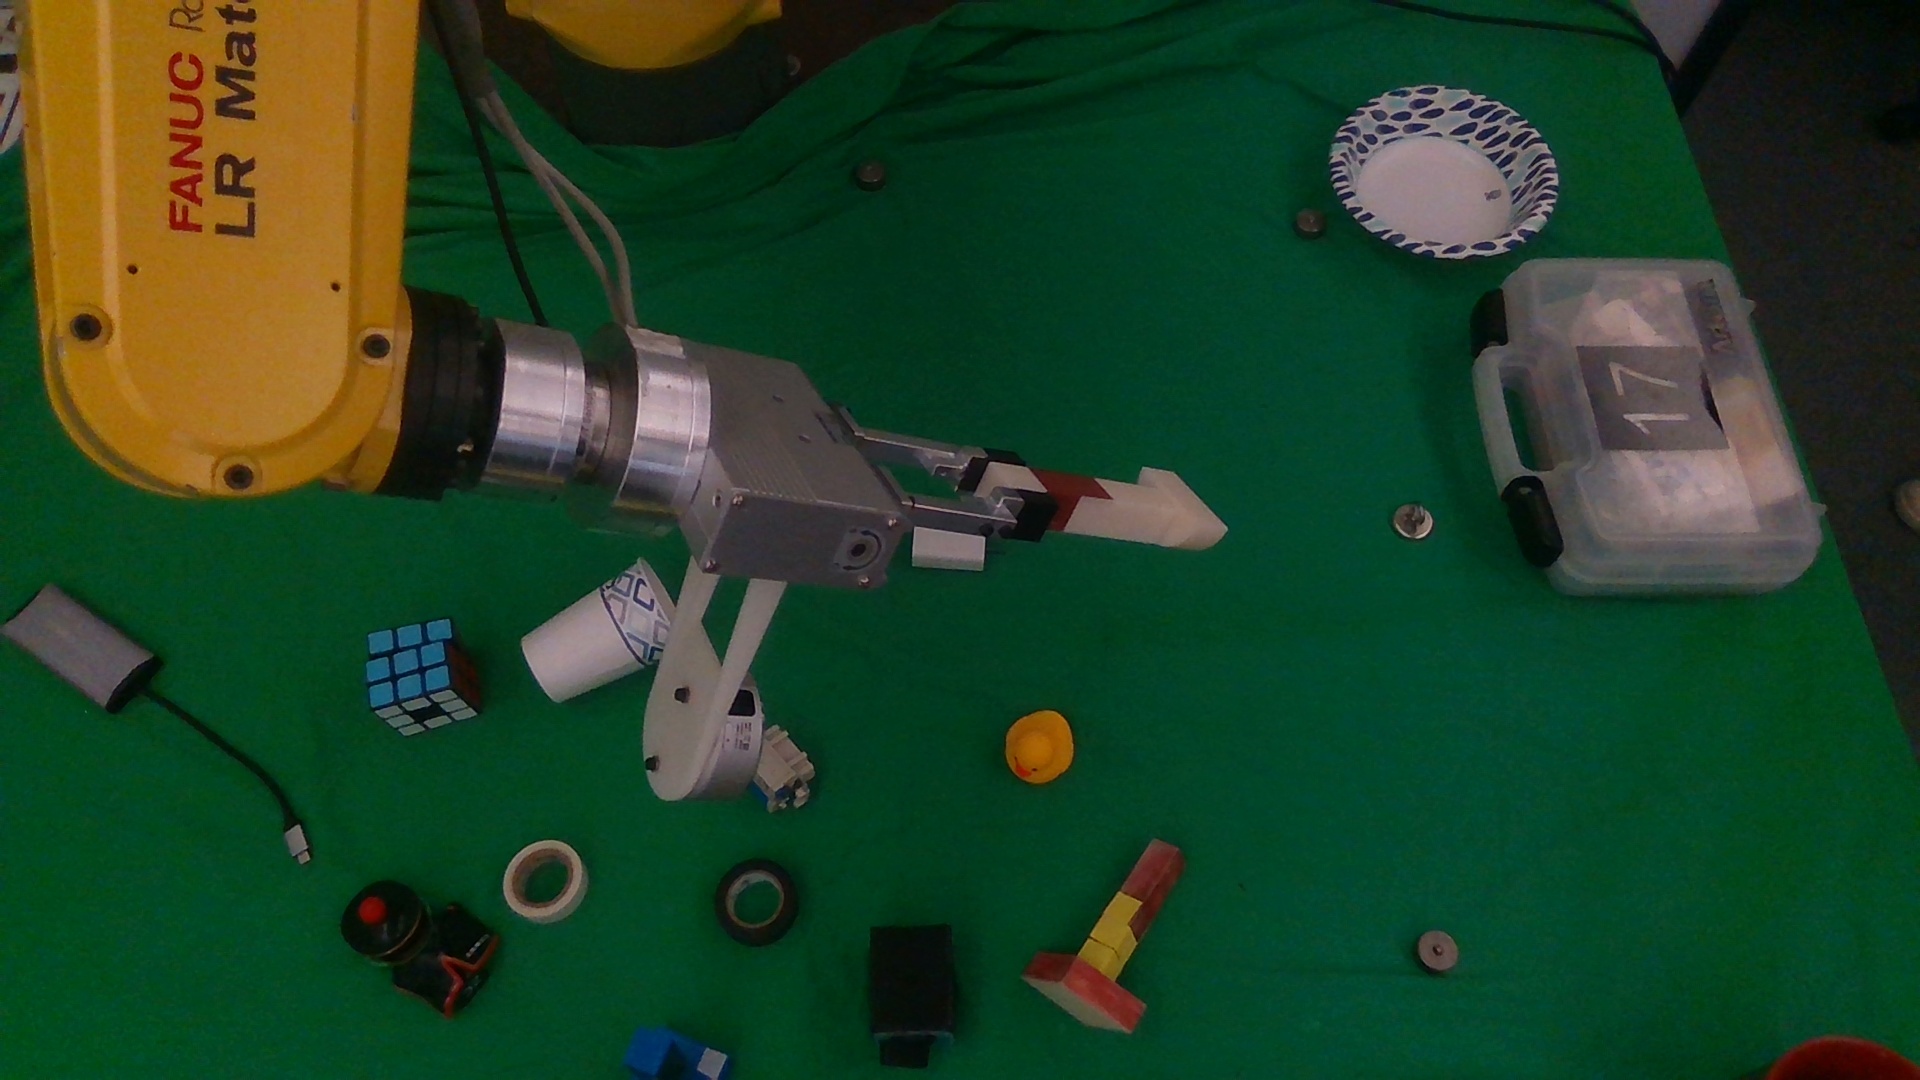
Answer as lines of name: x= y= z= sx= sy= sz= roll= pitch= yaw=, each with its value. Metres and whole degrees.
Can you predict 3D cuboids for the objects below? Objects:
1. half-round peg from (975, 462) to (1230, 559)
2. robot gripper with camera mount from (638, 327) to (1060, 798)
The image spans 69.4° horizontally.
half-round peg: x=0.062 y=-0.015 z=0.633 sx=0.121 sy=0.031 sz=0.054 roll=8 pitch=33 yaw=-31
robot gripper with camera mount: x=-0.066 y=0.038 z=0.600 sx=0.158 sy=0.193 sz=0.119 roll=13 pitch=29 yaw=-32
